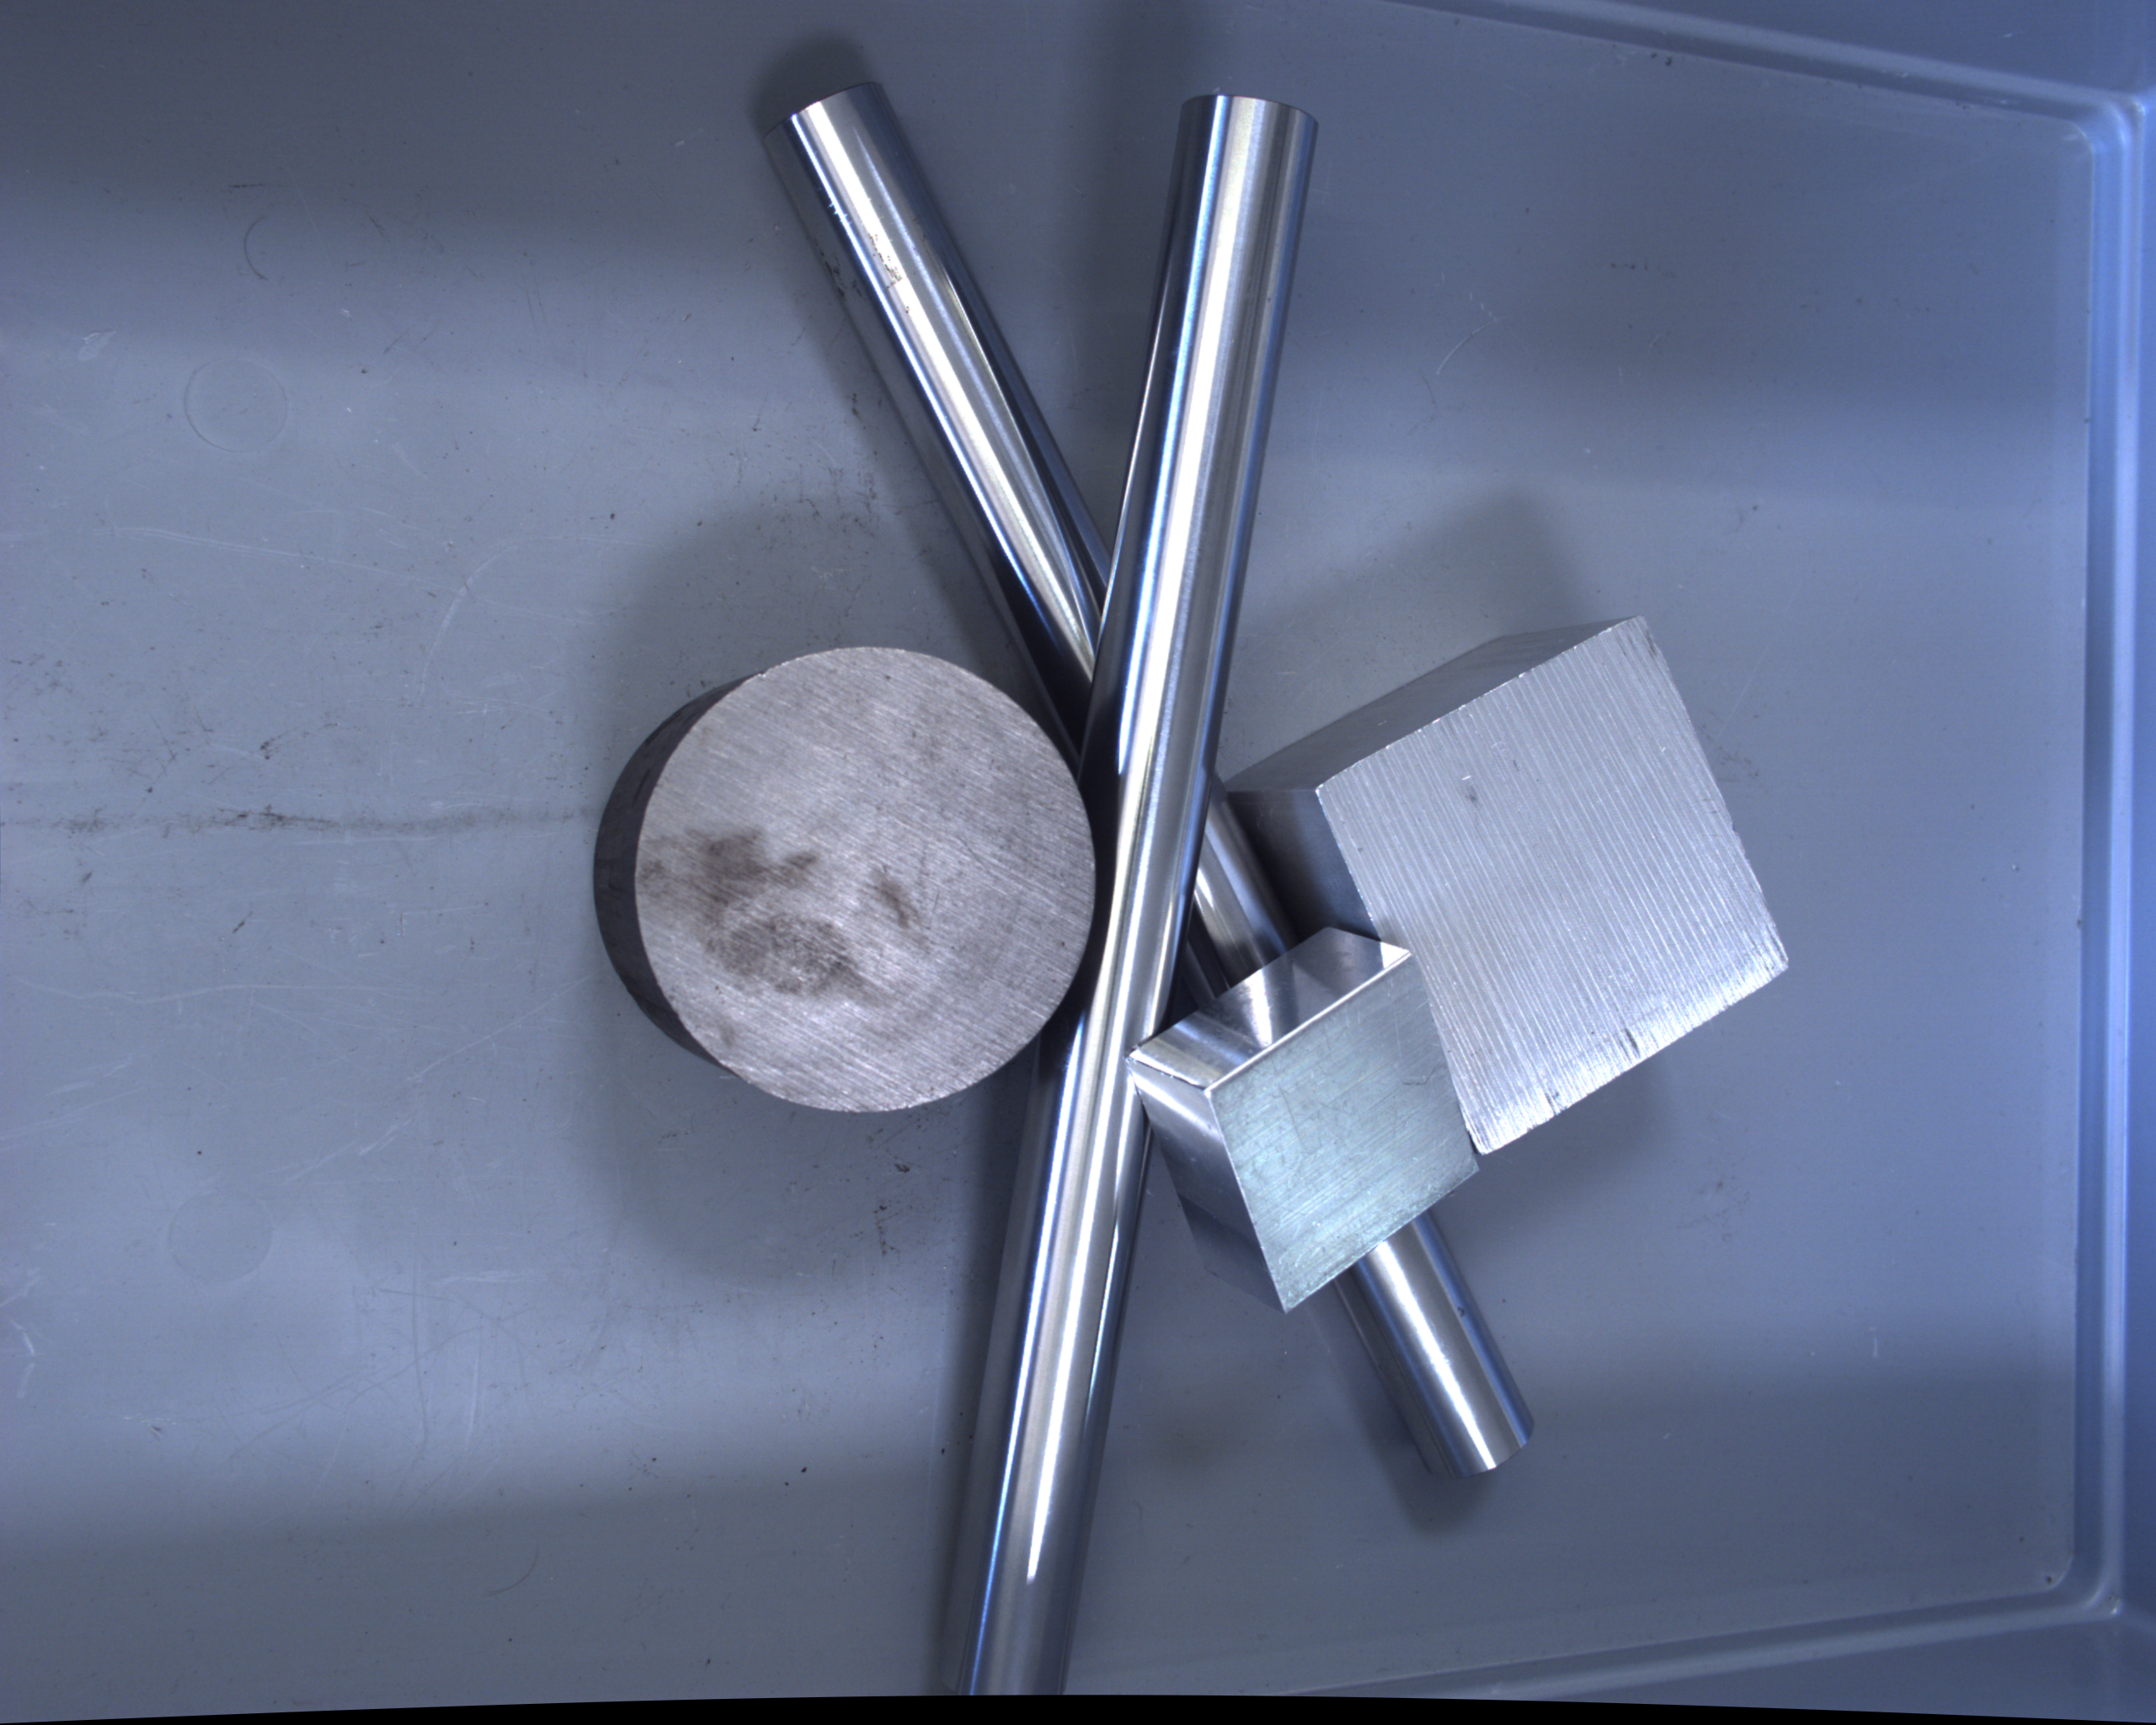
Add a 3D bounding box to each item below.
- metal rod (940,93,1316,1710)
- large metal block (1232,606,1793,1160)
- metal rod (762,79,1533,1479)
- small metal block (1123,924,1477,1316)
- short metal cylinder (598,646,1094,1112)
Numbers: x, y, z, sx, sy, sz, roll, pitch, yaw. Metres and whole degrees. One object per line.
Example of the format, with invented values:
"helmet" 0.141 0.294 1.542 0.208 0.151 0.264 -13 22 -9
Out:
"metal rod" 0.008 0.011 0.391 0.025 0.025 0.298 7 96 -20
"large metal block" 0.085 0.003 0.426 0.080 0.050 0.080 -29 100 -18
"metal rod" 0.018 -0.009 0.415 0.025 0.025 0.299 -30 100 -18
"small metal block" 0.042 0.047 0.391 0.050 0.025 0.050 -31 116 -25
"short metal cylinder" -0.044 0.003 0.380 0.081 0.050 0.079 0 90 -21
